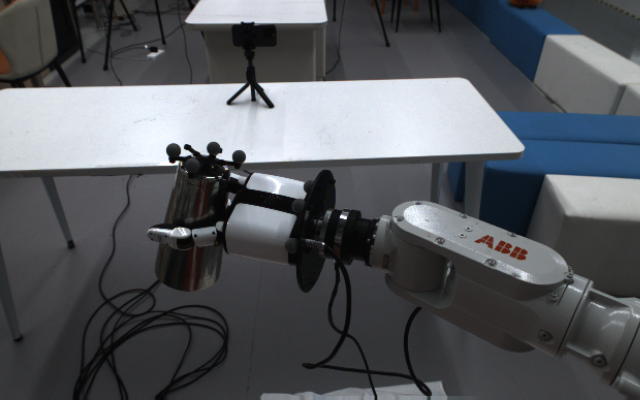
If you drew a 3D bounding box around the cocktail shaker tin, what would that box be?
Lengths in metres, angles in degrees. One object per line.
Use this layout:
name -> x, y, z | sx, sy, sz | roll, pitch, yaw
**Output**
cocktail shaker tin -> -0.166, 0.028, 0.653 | 0.093, 0.170, 0.093 | 12, 29, -7
